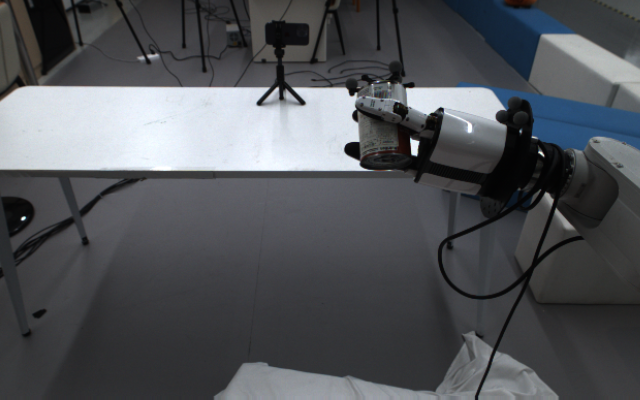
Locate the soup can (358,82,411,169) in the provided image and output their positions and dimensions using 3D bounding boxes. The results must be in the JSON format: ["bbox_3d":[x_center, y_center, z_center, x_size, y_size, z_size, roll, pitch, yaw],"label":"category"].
[{"bbox_3d":[0.083,-0.099,0.640,0.067,0.067,0.101,-1,77,-4],"label":"soup can"}]
